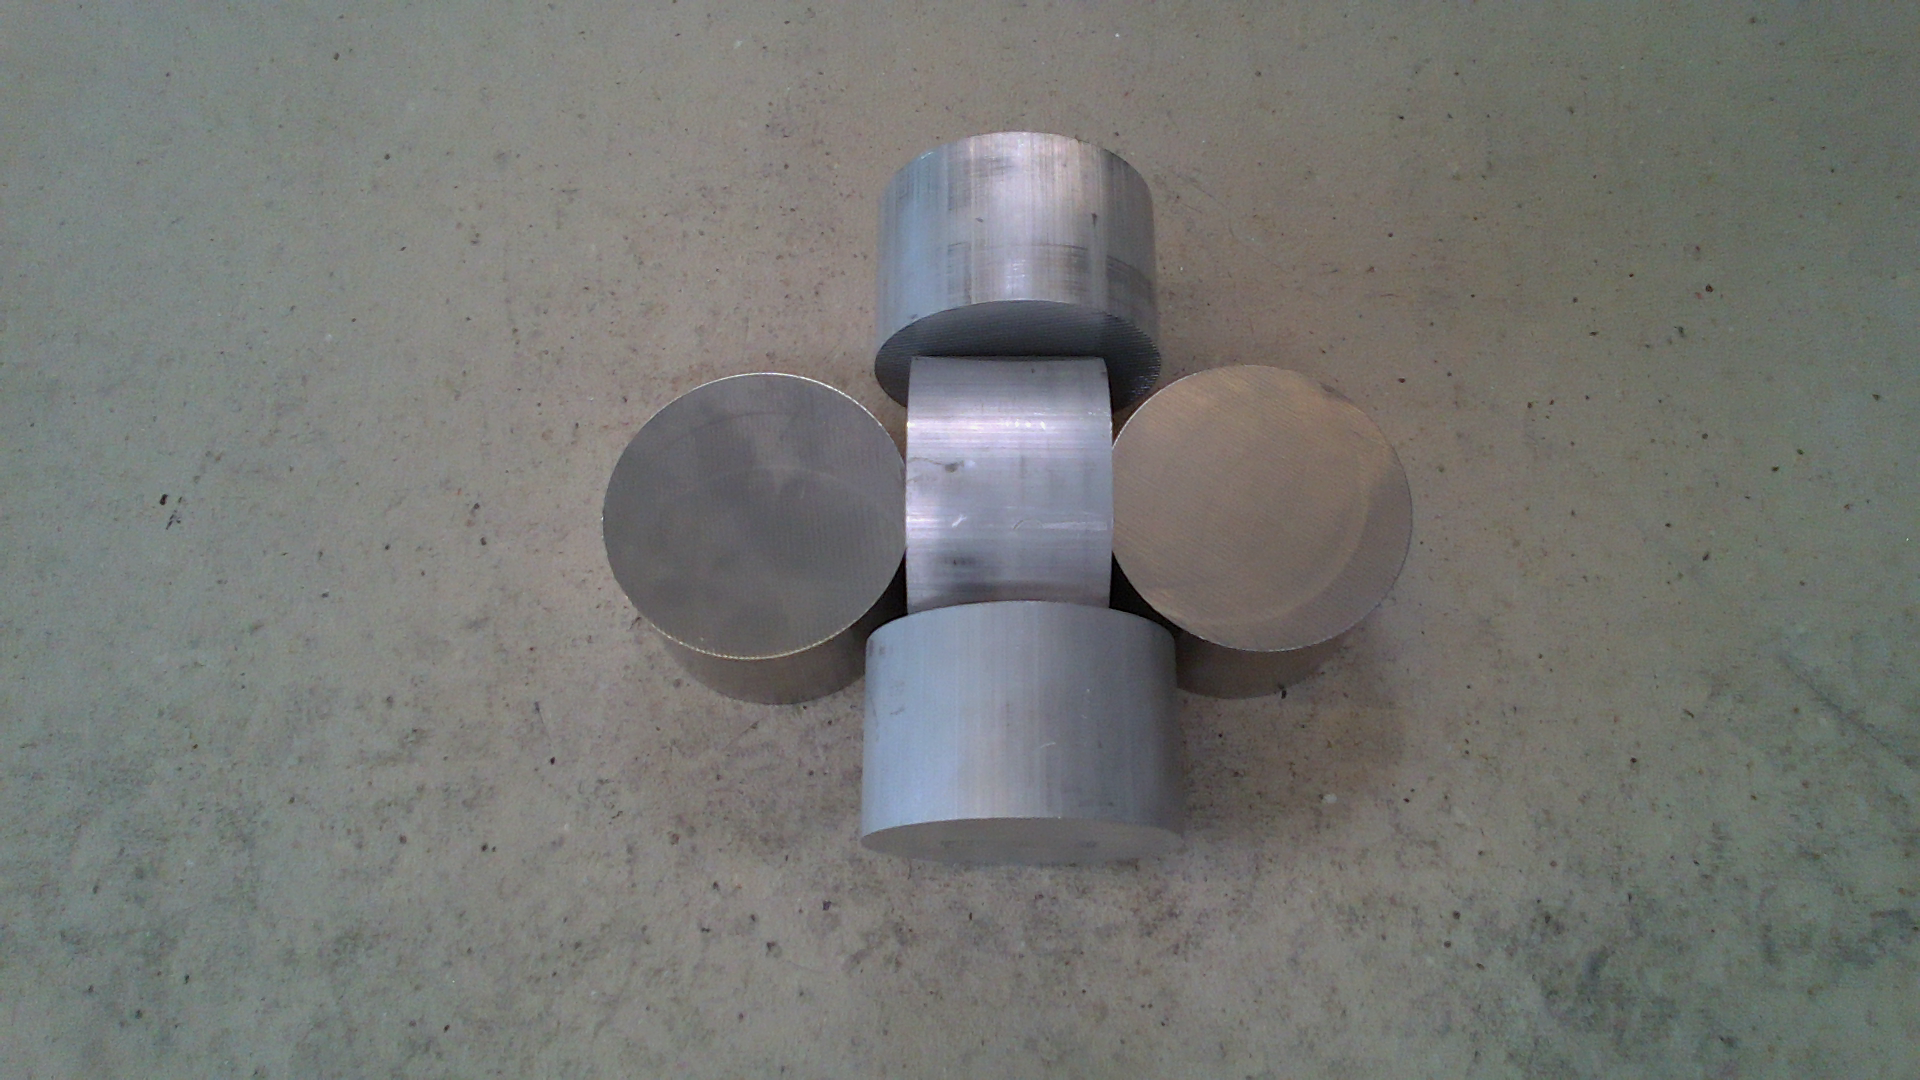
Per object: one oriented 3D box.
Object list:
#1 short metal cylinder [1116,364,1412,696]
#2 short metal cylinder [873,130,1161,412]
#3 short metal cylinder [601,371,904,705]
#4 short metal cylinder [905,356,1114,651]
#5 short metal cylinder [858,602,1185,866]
[{"bbox_3d":[0.078,-0.002,0.382,0.080,0.050,0.080,0,70,0],"label":"short metal cylinder"},{"bbox_3d":[0.016,-0.071,0.392,0.080,0.080,0.050,0,70,0],"label":"short metal cylinder"},{"bbox_3d":[-0.053,0.001,0.381,0.080,0.050,0.080,0,70,-1],"label":"short metal cylinder"},{"bbox_3d":[0.012,-0.009,0.369,0.050,0.080,0.080,0,70,1],"label":"short metal cylinder"},{"bbox_3d":[0.015,0.052,0.347,0.080,0.080,0.050,0,69,0],"label":"short metal cylinder"}]
